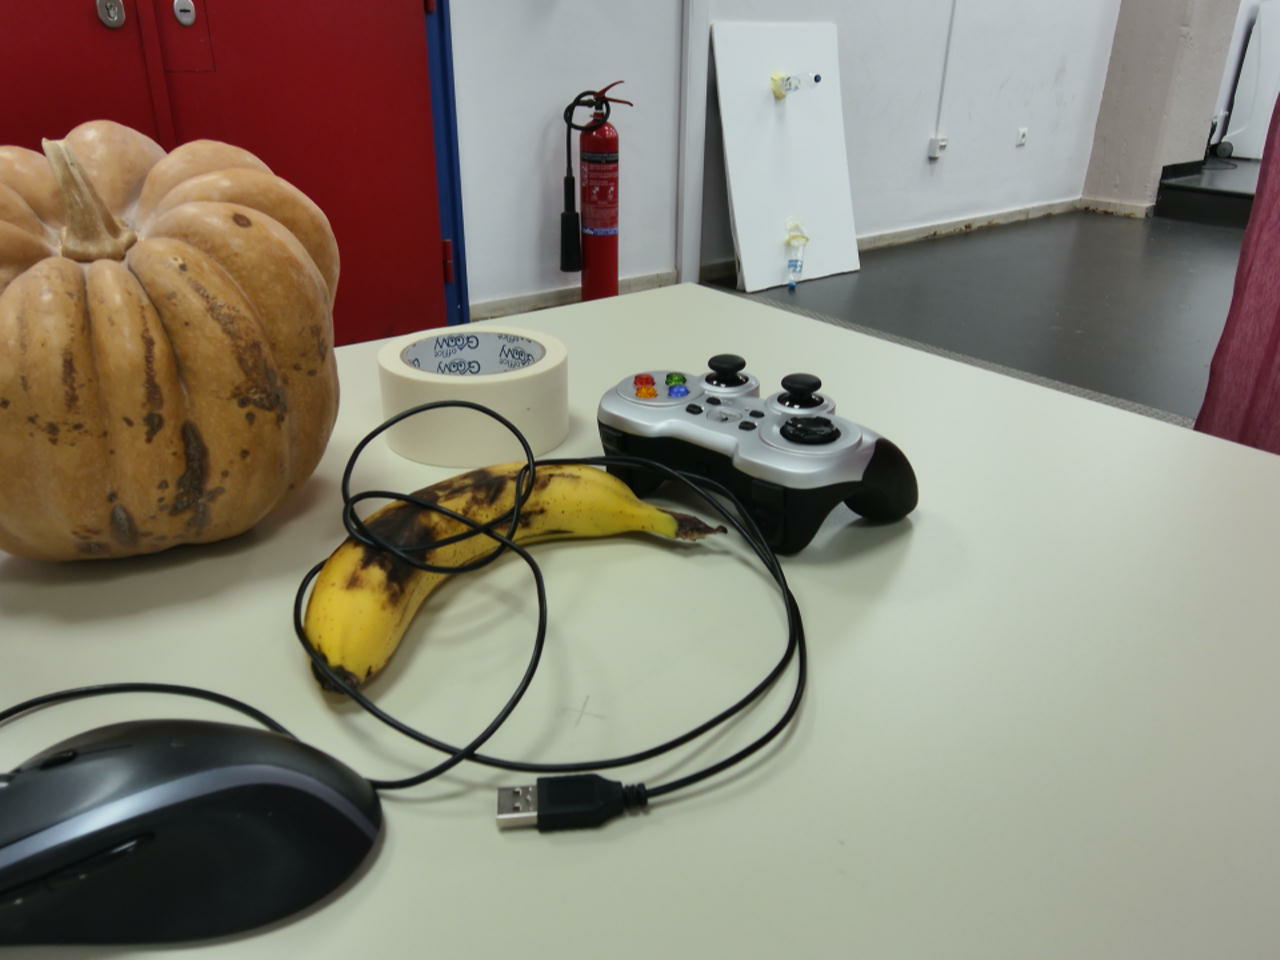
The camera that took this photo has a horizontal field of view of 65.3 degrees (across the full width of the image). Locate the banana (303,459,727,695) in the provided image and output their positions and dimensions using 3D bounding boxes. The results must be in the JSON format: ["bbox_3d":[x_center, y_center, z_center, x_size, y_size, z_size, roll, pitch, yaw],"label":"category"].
[{"bbox_3d":[-0.064,0.027,0.419,0.187,0.039,0.094,-19,30,-37],"label":"banana"}]
